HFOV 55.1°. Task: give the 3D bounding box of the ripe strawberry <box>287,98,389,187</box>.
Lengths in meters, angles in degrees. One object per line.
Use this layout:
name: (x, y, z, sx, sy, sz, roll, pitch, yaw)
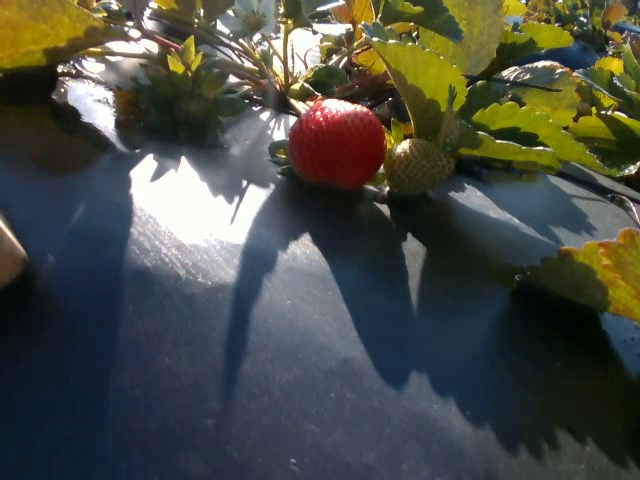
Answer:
ripe strawberry: (0.008, -0.028, 0.181, 0.042, 0.037, 0.045, 35, -25, 2)
